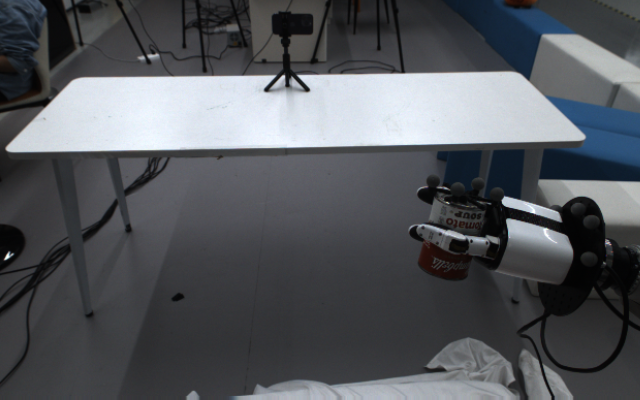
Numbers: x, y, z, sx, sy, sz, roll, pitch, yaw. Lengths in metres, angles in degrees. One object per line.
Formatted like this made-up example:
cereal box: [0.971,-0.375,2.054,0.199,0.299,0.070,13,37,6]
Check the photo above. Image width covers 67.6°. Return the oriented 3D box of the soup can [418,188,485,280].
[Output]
soup can: [0.174,0.045,0.637,0.067,0.101,0.067,9,19,-3]
